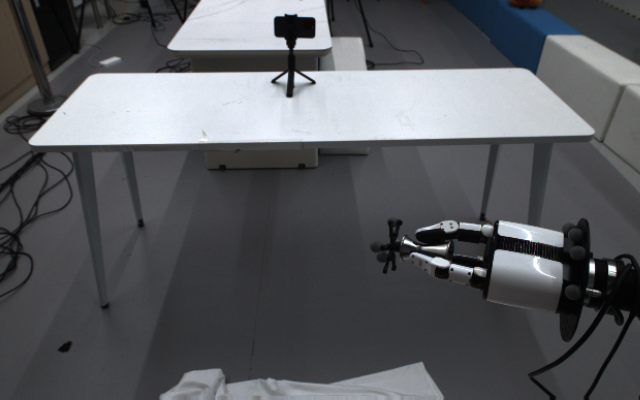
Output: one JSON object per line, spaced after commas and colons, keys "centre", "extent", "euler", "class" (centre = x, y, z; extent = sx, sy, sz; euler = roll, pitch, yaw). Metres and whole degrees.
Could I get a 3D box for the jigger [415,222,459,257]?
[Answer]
{"centre": [0.160, 0.067, 0.693], "extent": [0.071, 0.043, 0.043], "euler": [6, 33, 27], "class": "jigger"}
